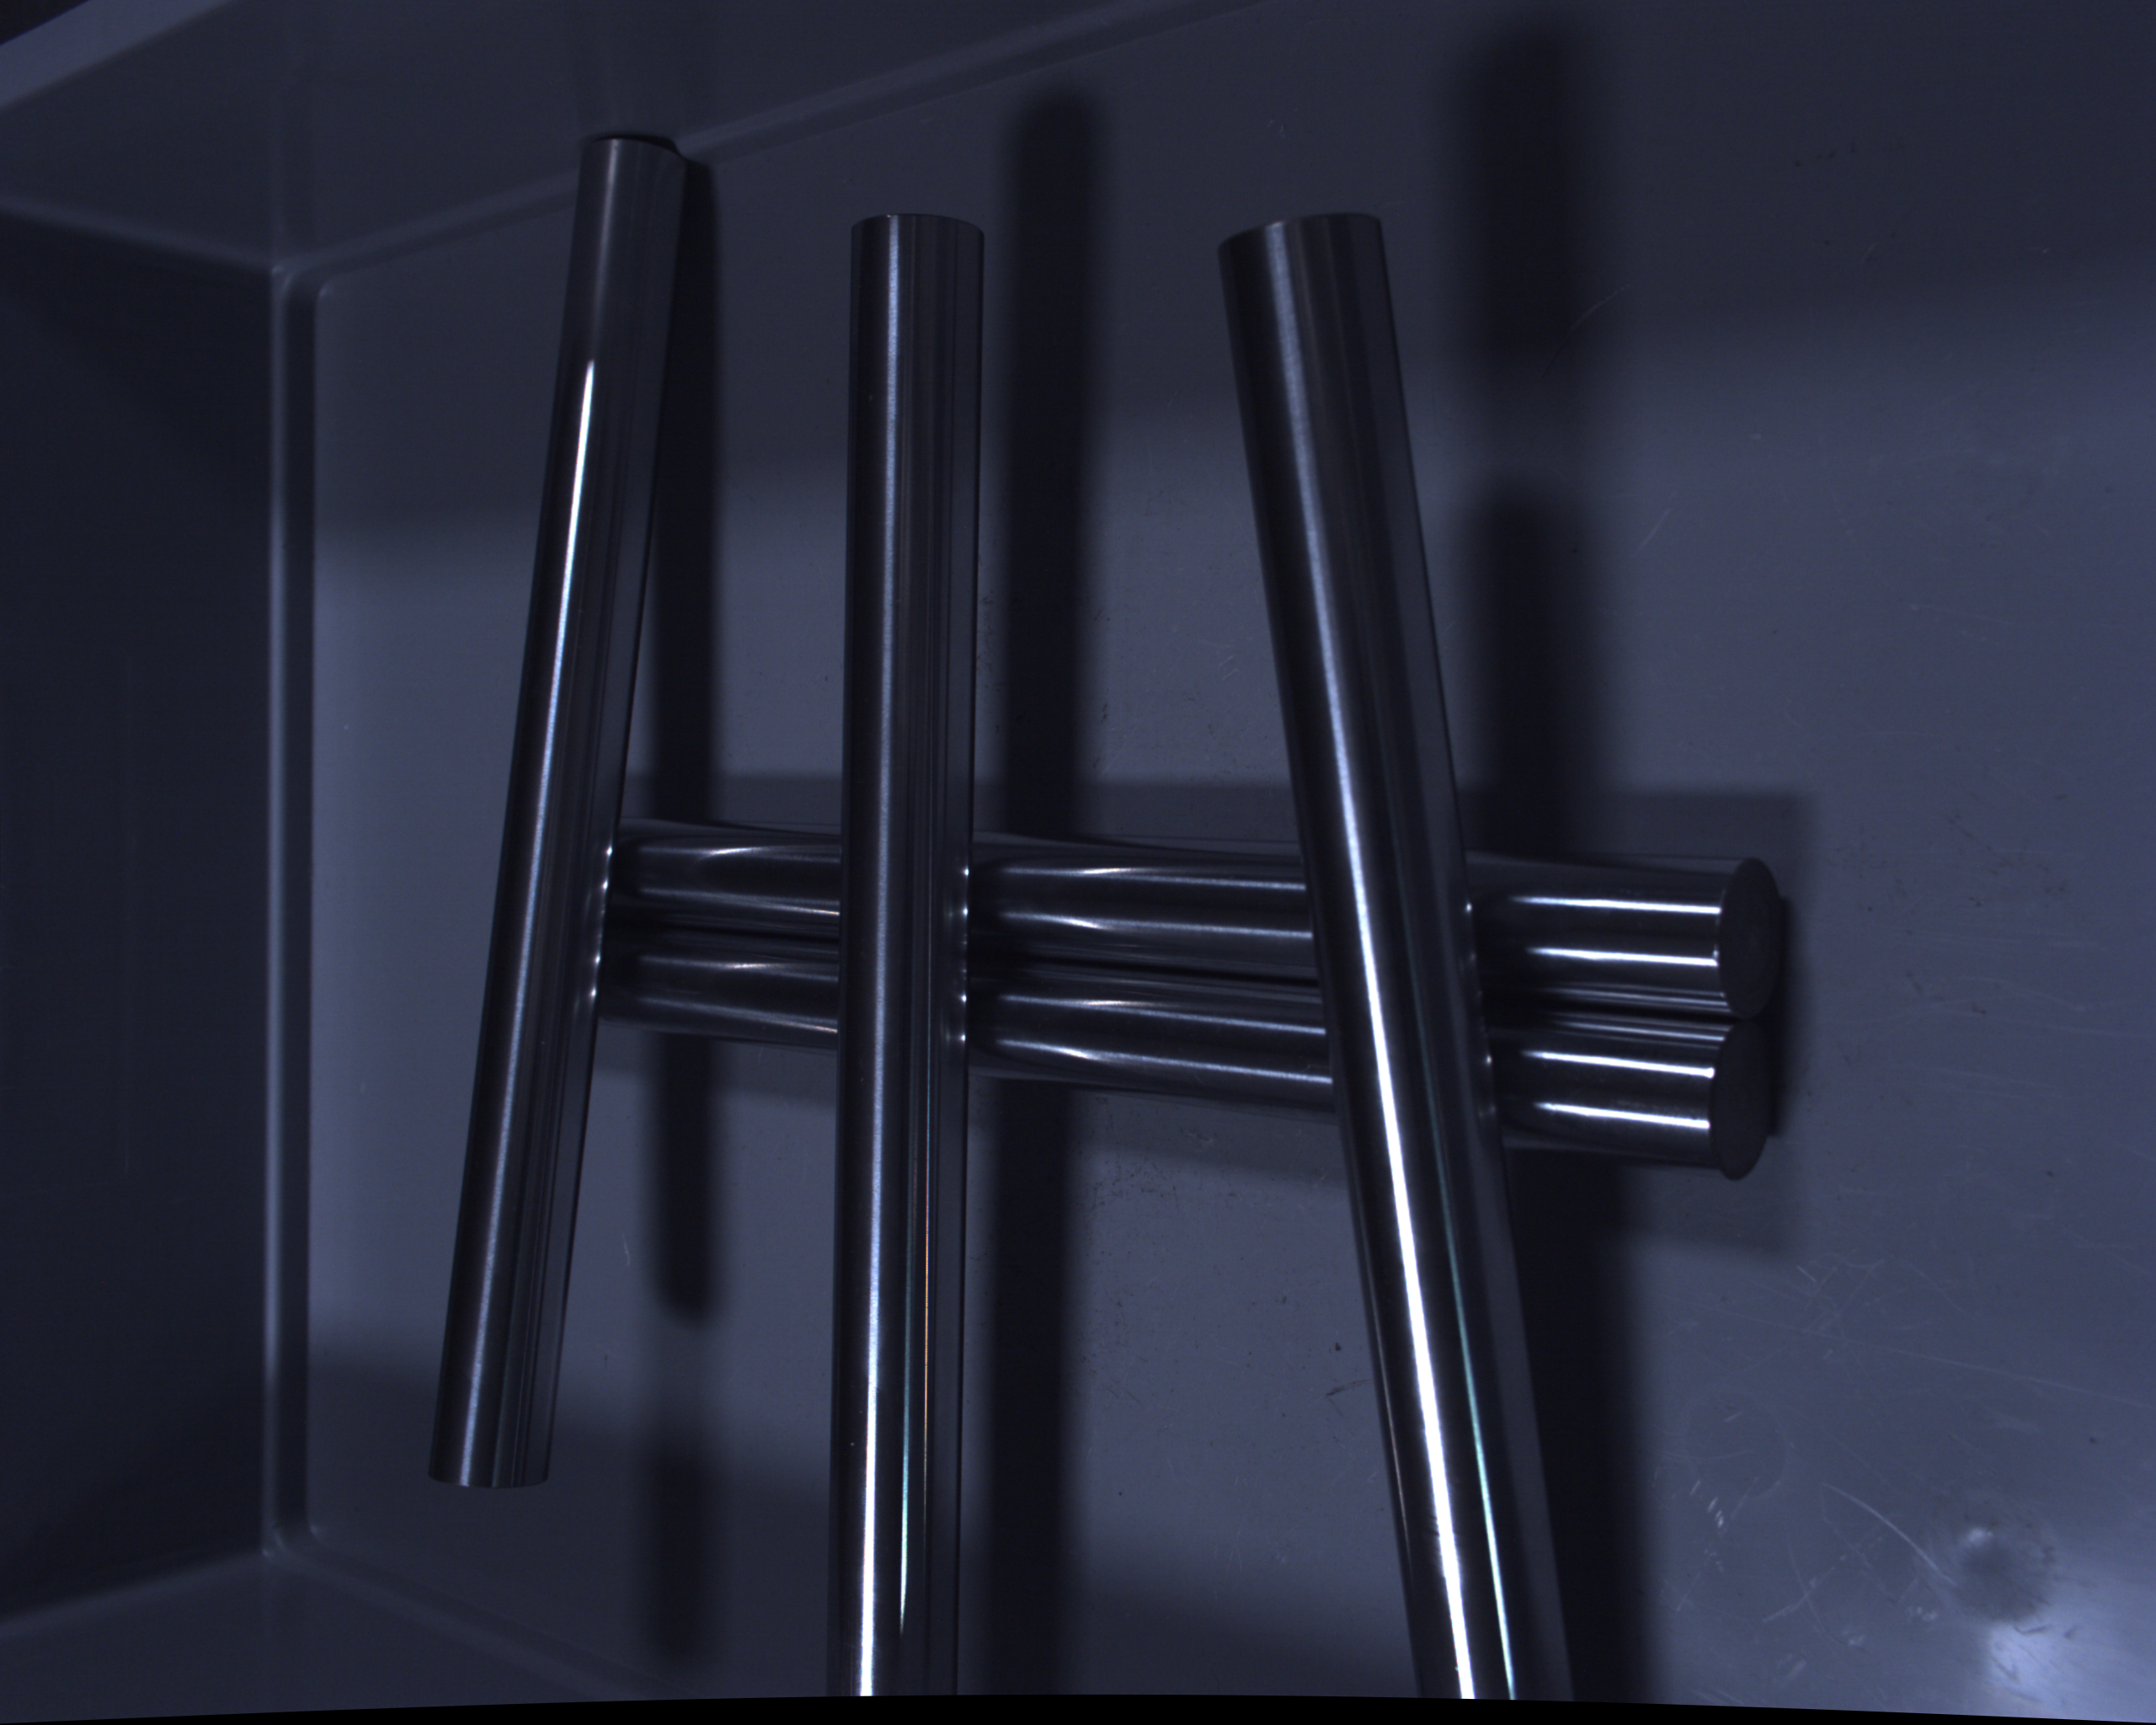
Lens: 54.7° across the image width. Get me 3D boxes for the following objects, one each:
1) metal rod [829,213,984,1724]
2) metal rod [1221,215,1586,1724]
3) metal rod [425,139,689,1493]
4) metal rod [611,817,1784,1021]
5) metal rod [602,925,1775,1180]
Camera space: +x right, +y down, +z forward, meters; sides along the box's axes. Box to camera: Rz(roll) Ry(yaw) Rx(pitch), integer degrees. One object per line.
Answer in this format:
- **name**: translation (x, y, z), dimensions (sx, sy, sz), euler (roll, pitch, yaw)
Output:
- **metal rod**: translation (-0.033, 0.029, 0.398), dimensions (0.025, 0.025, 0.298), euler (2, 91, 39)
- **metal rod**: translation (0.056, 0.052, 0.328), dimensions (0.025, 0.025, 0.298), euler (-5, 95, 39)
- **metal rod**: translation (-0.115, -0.015, 0.466), dimensions (0.025, 0.025, 0.298), euler (-1, 81, 39)
- **metal rod**: translation (-0.013, 0.006, 0.414), dimensions (0.300, 0.025, 0.025), euler (3, 92, 39)
- **metal rod**: translation (-0.014, 0.031, 0.415), dimensions (0.300, 0.025, 0.025), euler (3, 92, 39)
